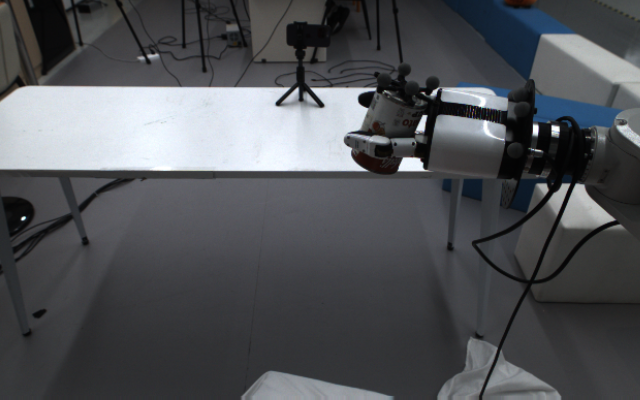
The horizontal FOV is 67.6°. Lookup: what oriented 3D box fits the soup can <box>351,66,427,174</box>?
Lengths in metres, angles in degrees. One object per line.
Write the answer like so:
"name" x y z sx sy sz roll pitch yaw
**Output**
"soup can" 0.089 -0.093 0.620 0.067 0.101 0.067 14 35 -10
